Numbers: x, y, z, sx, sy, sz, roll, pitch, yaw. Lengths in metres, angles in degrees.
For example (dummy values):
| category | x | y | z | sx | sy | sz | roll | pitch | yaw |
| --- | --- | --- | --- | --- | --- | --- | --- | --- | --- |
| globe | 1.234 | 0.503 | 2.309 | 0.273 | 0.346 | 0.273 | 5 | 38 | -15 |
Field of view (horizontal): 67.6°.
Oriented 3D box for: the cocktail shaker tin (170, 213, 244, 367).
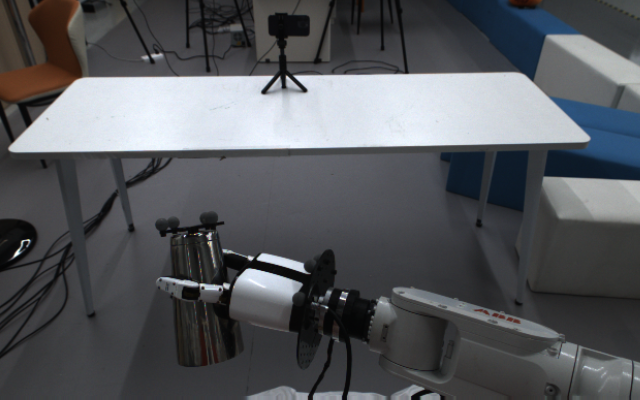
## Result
| category | x | y | z | sx | sy | sz | roll | pitch | yaw |
| --- | --- | --- | --- | --- | --- | --- | --- | --- | --- |
| cocktail shaker tin | -0.163 | 0.131 | 0.669 | 0.093 | 0.170 | 0.093 | -8 | 1 | 0 |
